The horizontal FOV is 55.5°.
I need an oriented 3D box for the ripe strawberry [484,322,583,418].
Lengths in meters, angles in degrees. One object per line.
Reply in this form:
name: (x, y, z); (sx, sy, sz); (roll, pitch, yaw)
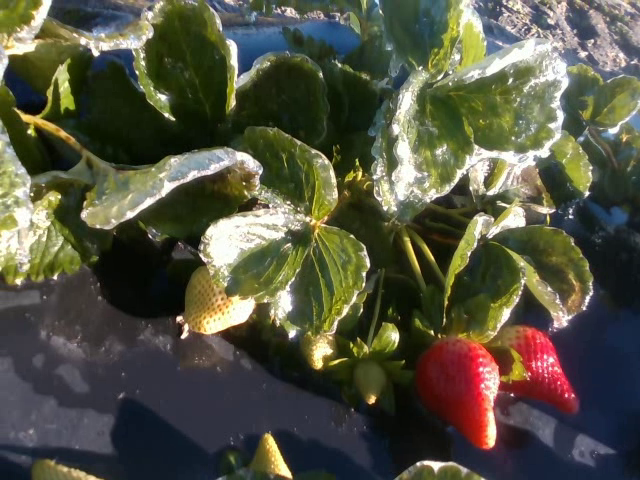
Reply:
ripe strawberry: (0.130, 0.073, 0.355); (0.043, 0.059, 0.040); (-44, 5, -41)

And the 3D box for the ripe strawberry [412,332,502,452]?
ripe strawberry: (0.084, 0.084, 0.328); (0.052, 0.070, 0.040); (18, -37, -39)
